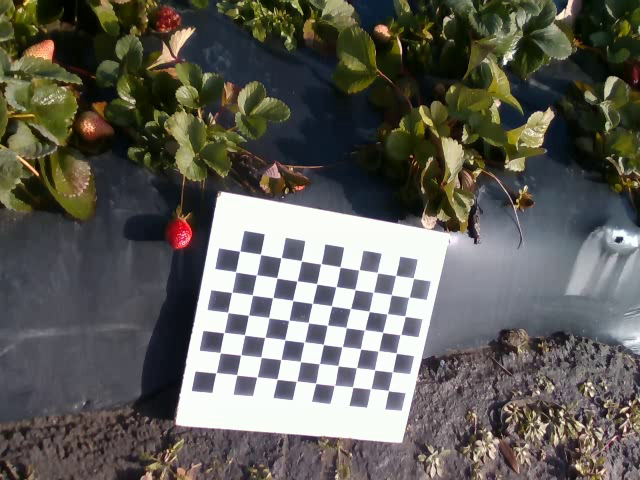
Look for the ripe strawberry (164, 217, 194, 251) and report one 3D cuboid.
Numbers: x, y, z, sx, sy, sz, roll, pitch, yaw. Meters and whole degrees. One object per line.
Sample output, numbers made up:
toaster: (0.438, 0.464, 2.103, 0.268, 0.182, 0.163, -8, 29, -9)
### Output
ripe strawberry: (-0.137, -0.002, 0.574, 0.035, 0.038, 0.033, 8, -45, -16)
